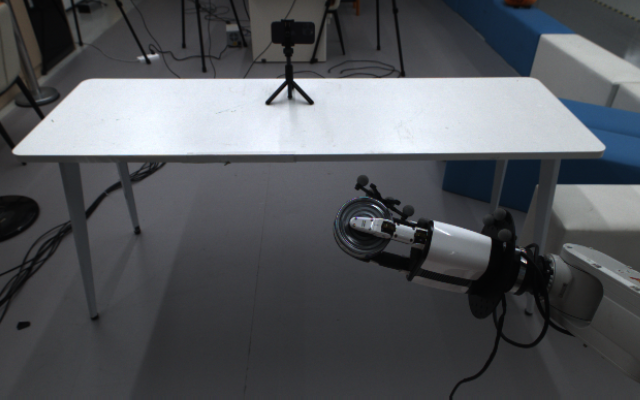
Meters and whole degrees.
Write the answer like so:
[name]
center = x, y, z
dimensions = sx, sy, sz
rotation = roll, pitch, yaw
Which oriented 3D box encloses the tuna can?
[tuna can]
center = 0.066, 0.046, 0.692
dimensions = 0.085, 0.034, 0.085
rotation = 0, 74, 0
